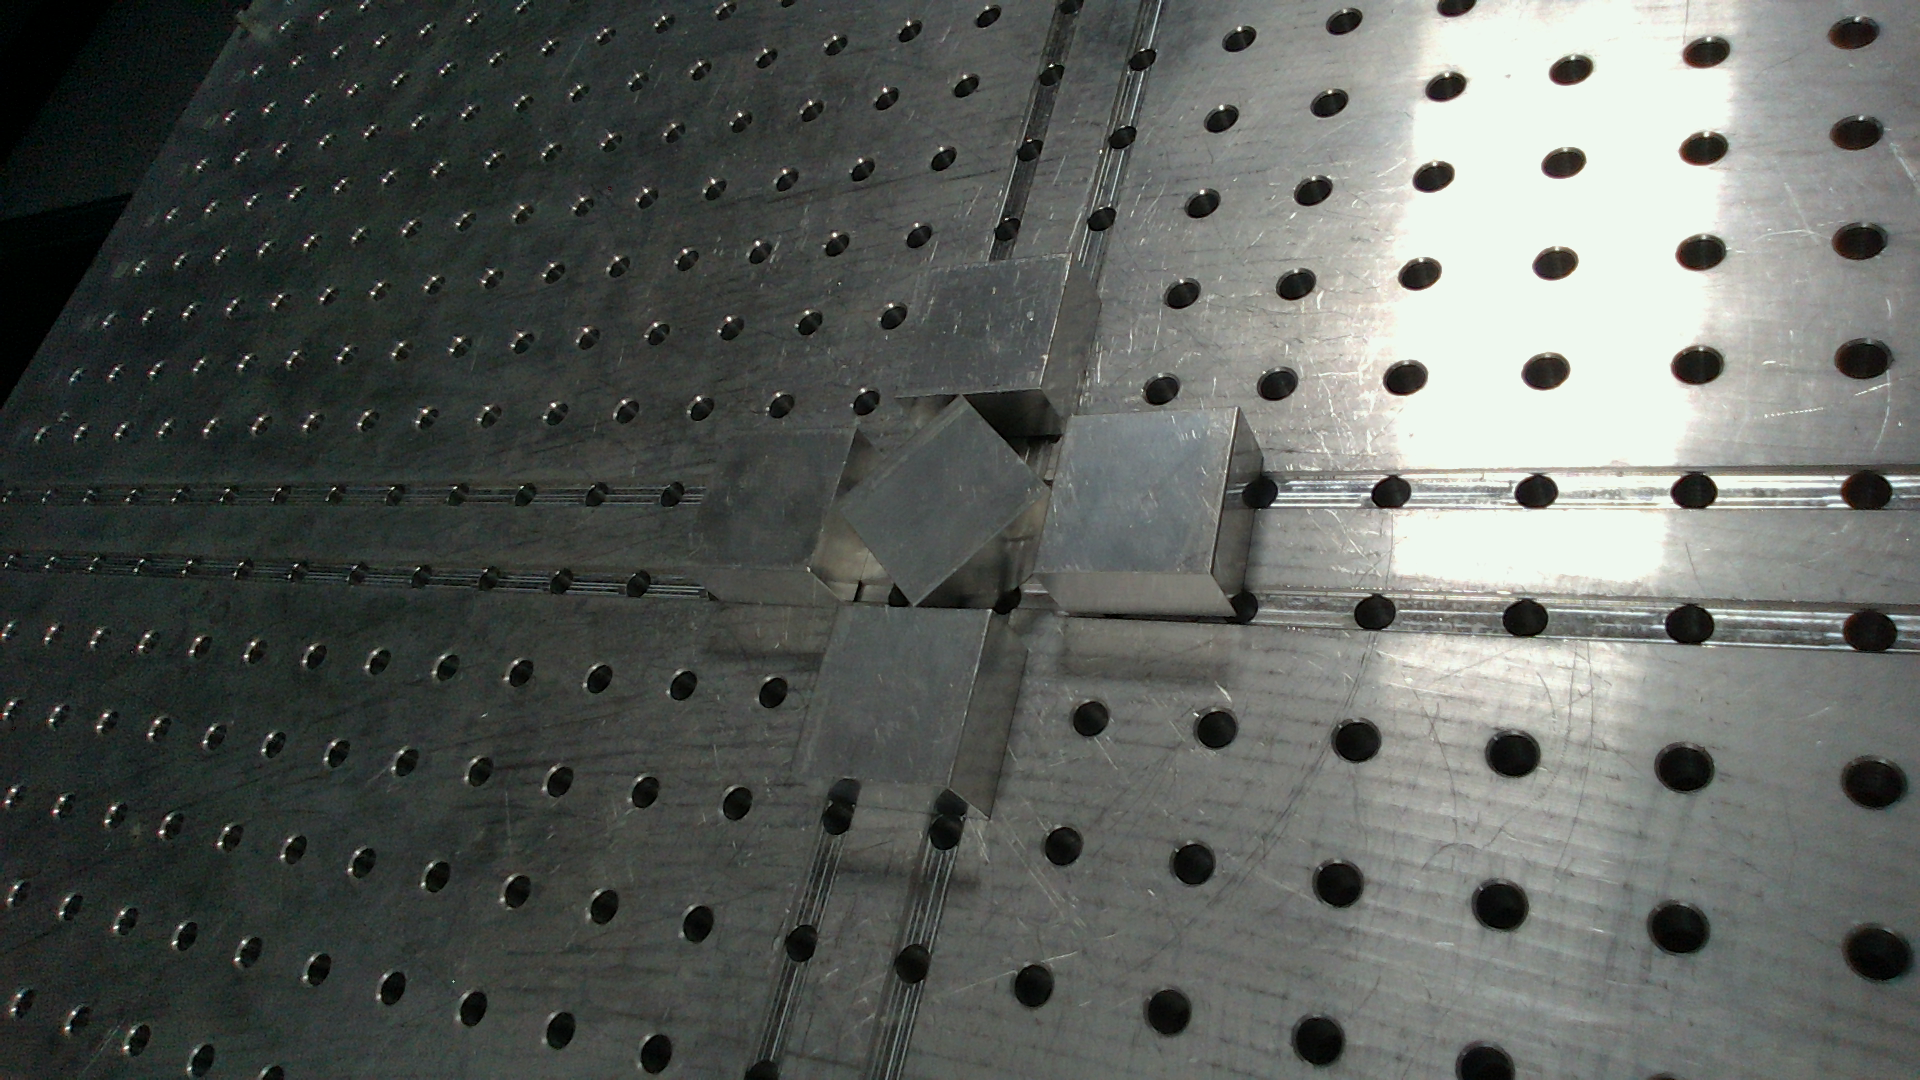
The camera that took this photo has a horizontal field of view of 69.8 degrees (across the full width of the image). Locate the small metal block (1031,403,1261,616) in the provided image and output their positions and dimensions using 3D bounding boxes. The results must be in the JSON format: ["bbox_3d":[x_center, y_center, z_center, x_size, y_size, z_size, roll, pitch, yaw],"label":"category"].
[{"bbox_3d":[0.052,-0.008,0.374,0.050,0.025,0.050,0,61,28],"label":"small metal block"}]

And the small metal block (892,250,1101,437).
[{"bbox_3d":[0.012,-0.060,0.427,0.050,0.025,0.050,-1,61,28],"label":"small metal block"}]

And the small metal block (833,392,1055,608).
[{"bbox_3d":[-0.001,-0.007,0.401,0.050,0.025,0.050,-41,51,0],"label":"small metal block"}]

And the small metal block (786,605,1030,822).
[{"bbox_3d":[-0.013,0.046,0.376,0.050,0.025,0.050,0,62,29],"label":"small metal block"}]

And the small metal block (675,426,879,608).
[{"bbox_3d":[-0.054,-0.007,0.431,0.050,0.025,0.050,1,62,29],"label":"small metal block"}]
